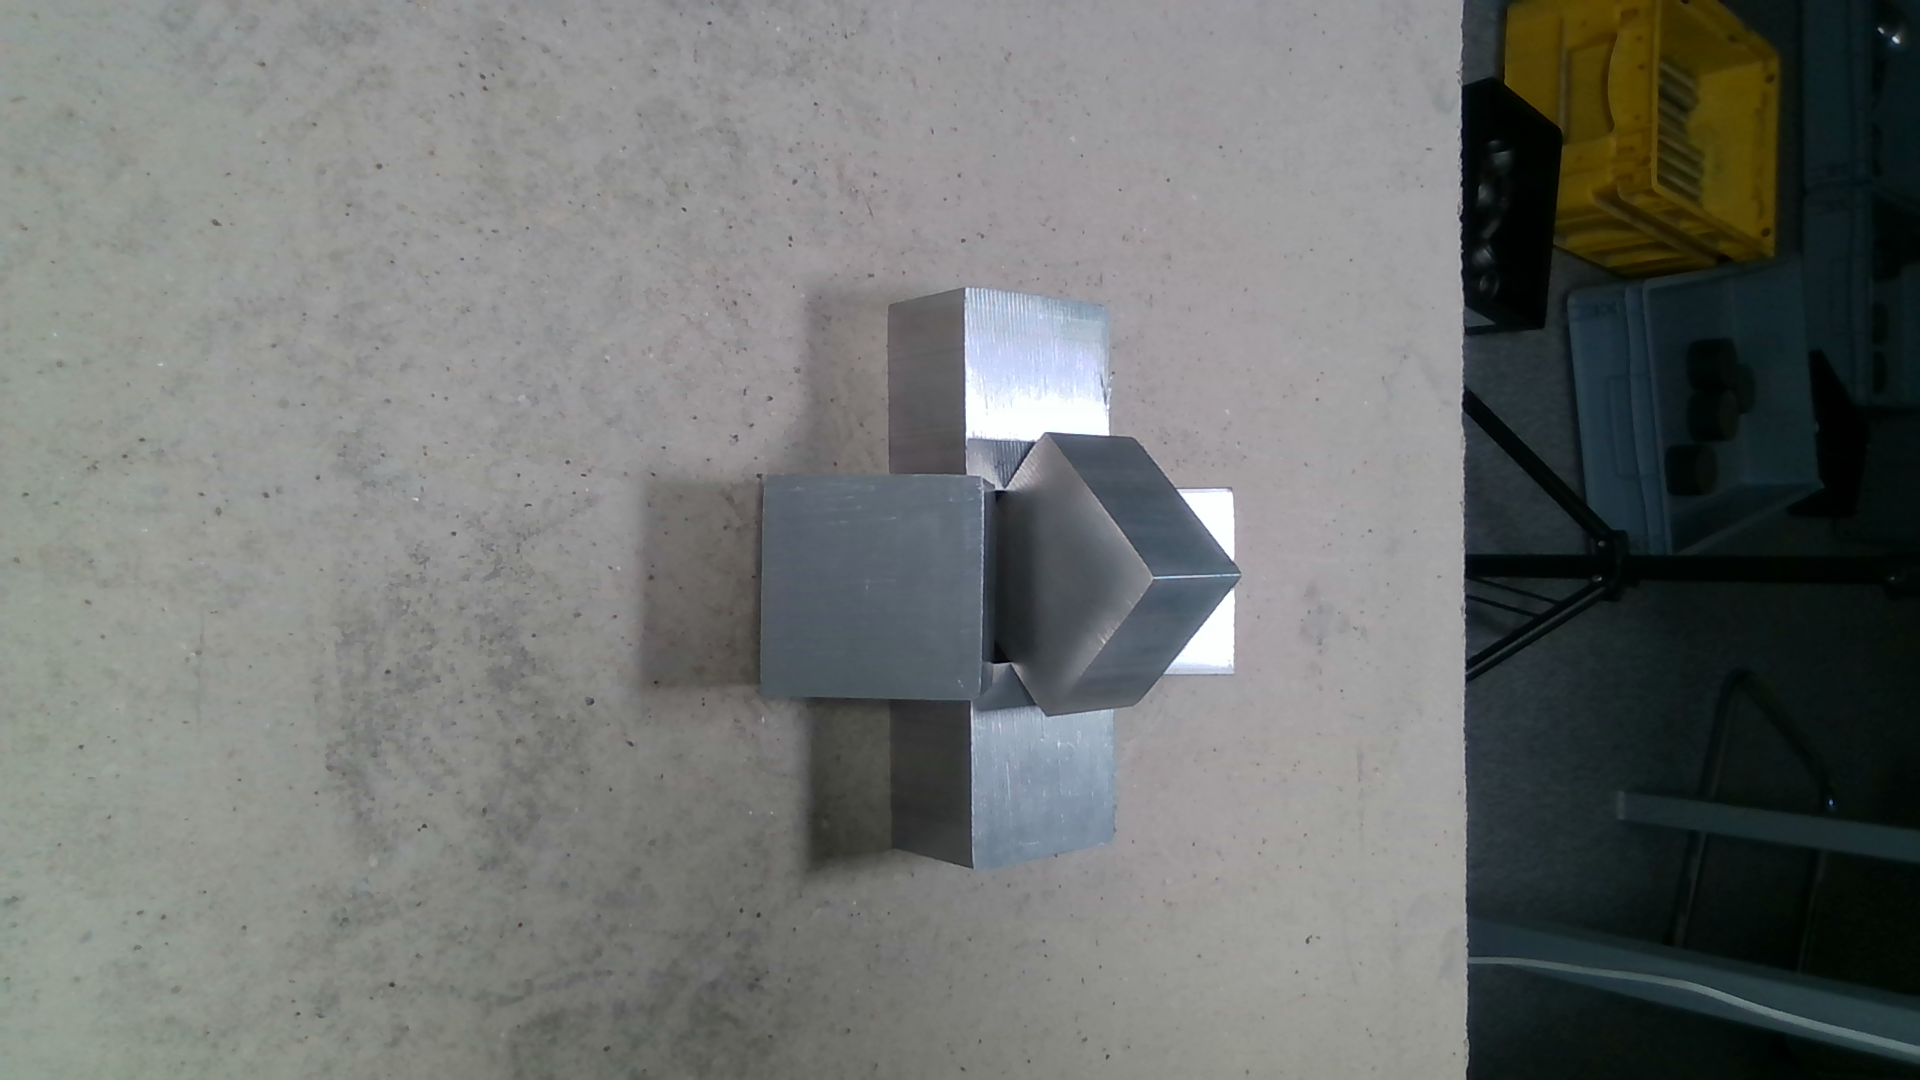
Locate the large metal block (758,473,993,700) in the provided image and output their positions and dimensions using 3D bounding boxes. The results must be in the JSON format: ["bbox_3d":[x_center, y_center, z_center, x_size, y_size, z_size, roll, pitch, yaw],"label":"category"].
[{"bbox_3d":[-0.030,0.017,0.514,0.050,0.080,0.080,13,77,-83],"label":"large metal block"}]

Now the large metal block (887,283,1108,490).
[{"bbox_3d":[0.017,-0.060,0.581,0.080,0.050,0.080,-1,91,-40],"label":"large metal block"}]

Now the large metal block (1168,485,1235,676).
[{"bbox_3d":[0.092,0.017,0.618,0.050,0.080,0.080,-1,90,3],"label":"large metal block"}]

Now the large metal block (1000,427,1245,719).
[{"bbox_3d":[0.052,0.013,0.548,0.050,0.080,0.080,-1,46,-40],"label":"large metal block"}]

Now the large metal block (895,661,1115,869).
[{"bbox_3d":[0.019,0.088,0.580,0.080,0.050,0.080,0,90,-40],"label":"large metal block"}]
